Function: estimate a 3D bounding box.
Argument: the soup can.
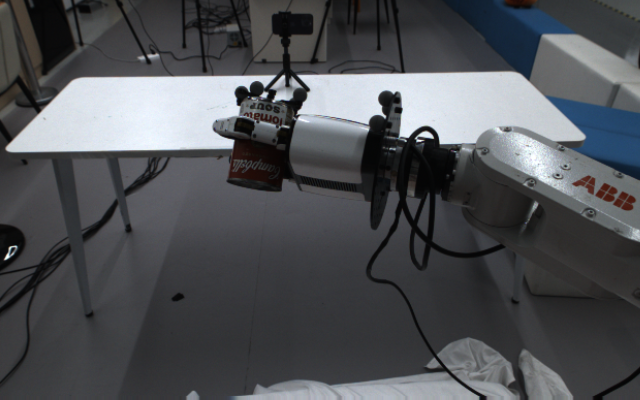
[{"bbox_3d":[-0.071,-0.065,0.588,0.067,0.101,0.067,9,-6,1],"label":"soup can"}]
